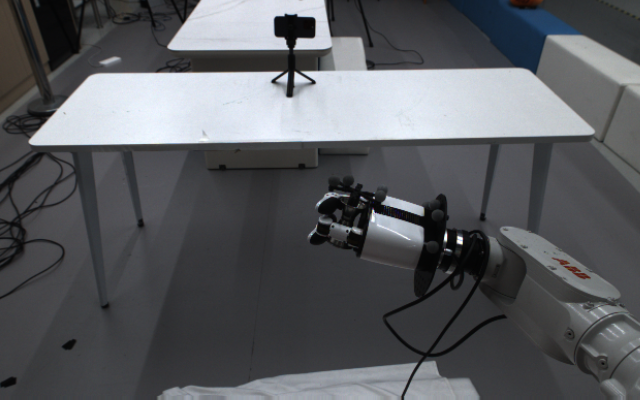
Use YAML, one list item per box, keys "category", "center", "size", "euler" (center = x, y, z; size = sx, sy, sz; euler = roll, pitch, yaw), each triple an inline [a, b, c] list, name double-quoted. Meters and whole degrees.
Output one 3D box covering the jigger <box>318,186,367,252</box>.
- category: "jigger"
  center: [0.043, 0.034, 0.732]
  size: [0.043, 0.071, 0.043]
  euler: [15, 17, -5]
